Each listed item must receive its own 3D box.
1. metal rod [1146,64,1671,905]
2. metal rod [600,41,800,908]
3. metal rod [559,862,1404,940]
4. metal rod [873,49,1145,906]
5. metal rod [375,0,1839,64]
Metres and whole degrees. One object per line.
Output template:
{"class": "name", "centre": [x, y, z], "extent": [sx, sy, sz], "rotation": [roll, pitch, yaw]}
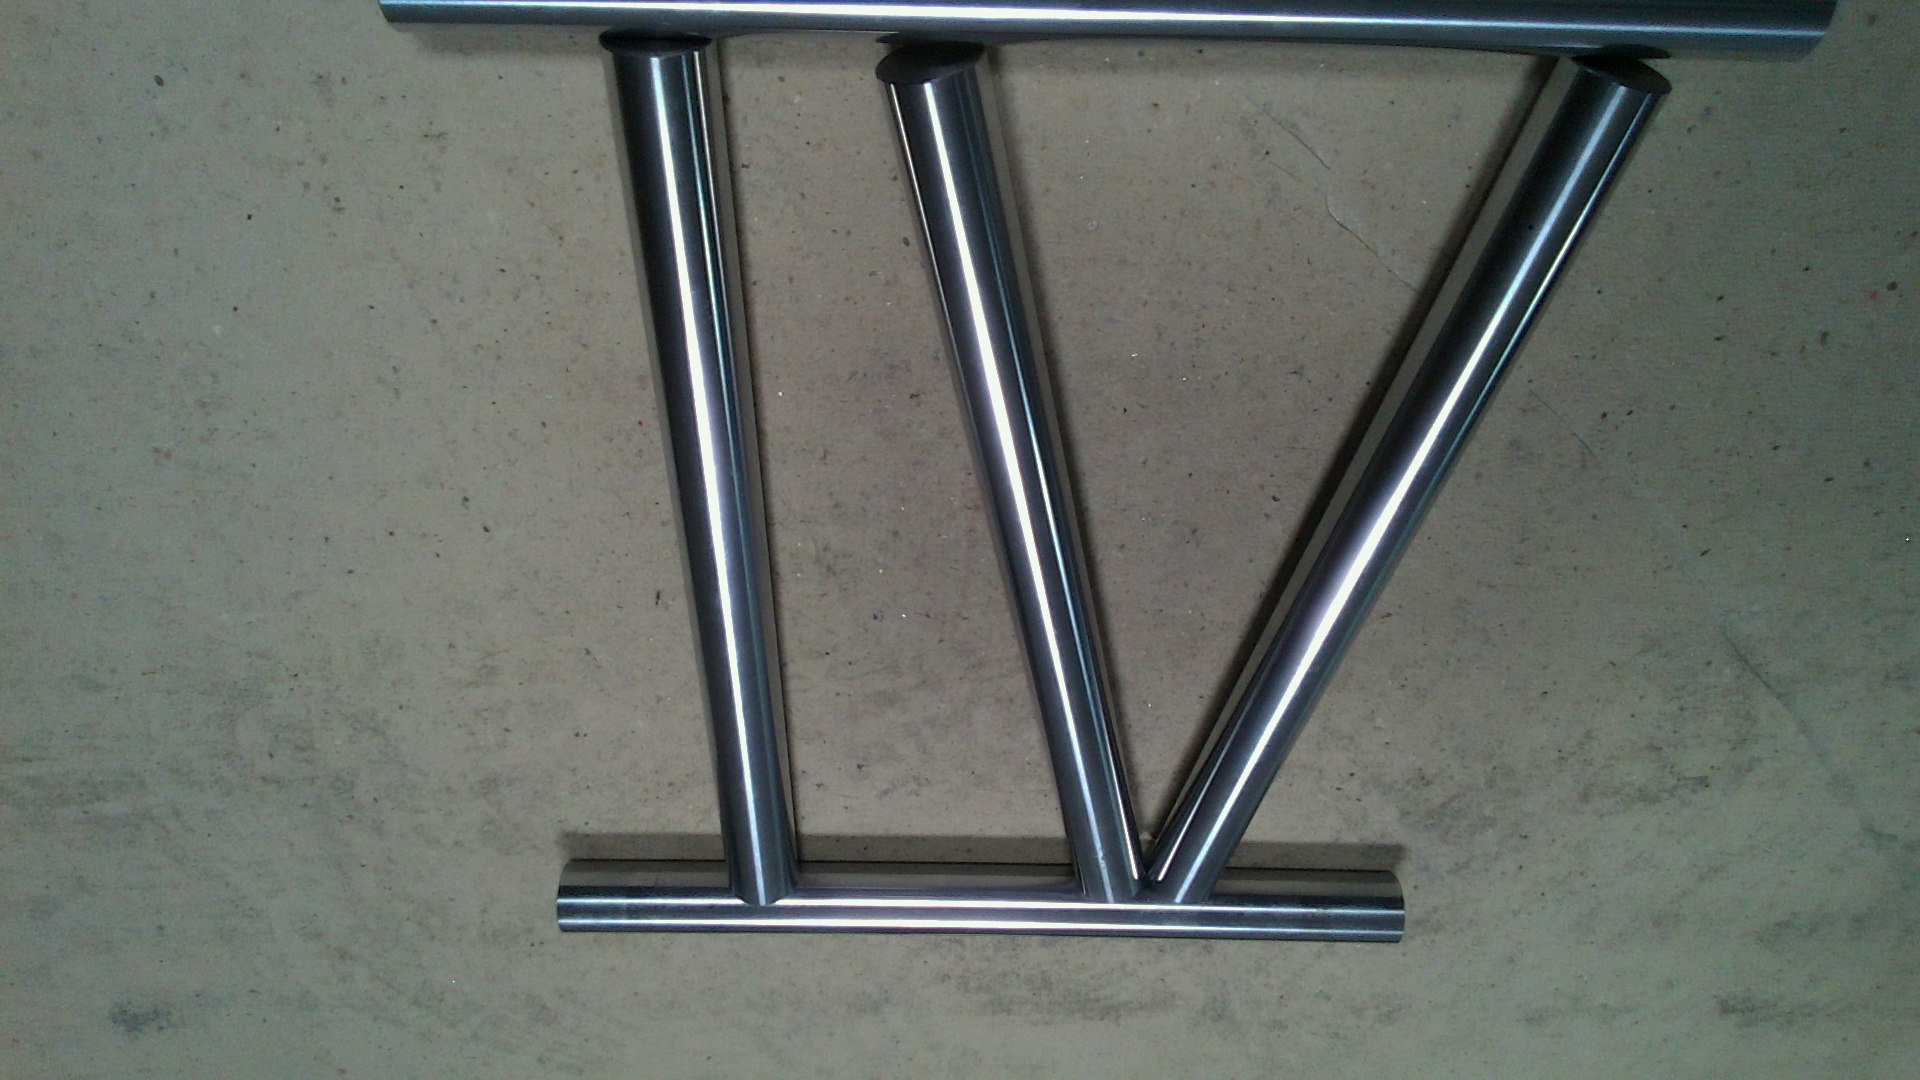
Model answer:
{"class": "metal rod", "centre": [0.111, 0.008, 0.397], "extent": [0.025, 0.025, 0.300], "rotation": [10, 129, -8]}
{"class": "metal rod", "centre": [-0.067, 0.006, 0.394], "extent": [0.025, 0.025, 0.300], "rotation": [1, 130, -1]}
{"class": "metal rod", "centre": [0.008, 0.131, 0.501], "extent": [0.300, 0.025, 0.025], "rotation": [1, 130, -1]}
{"class": "metal rod", "centre": [0.023, 0.007, 0.396], "extent": [0.025, 0.025, 0.300], "rotation": [-9, 130, 7]}
{"class": "metal rod", "centre": [0.031, -0.117, 0.292], "extent": [0.300, 0.025, 0.025], "rotation": [1, 130, -1]}
